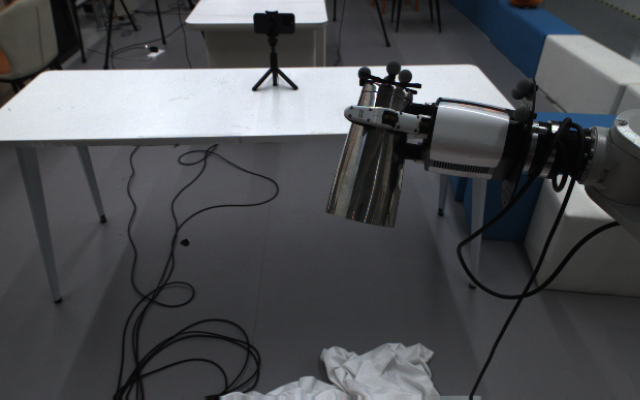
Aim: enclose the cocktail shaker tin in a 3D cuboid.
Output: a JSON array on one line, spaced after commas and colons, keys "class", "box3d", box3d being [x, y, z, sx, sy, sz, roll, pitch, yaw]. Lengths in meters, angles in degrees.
[{"class": "cocktail shaker tin", "box3d": [0.071, -0.061, 0.626, 0.093, 0.170, 0.093, 12, 3, -1]}]
